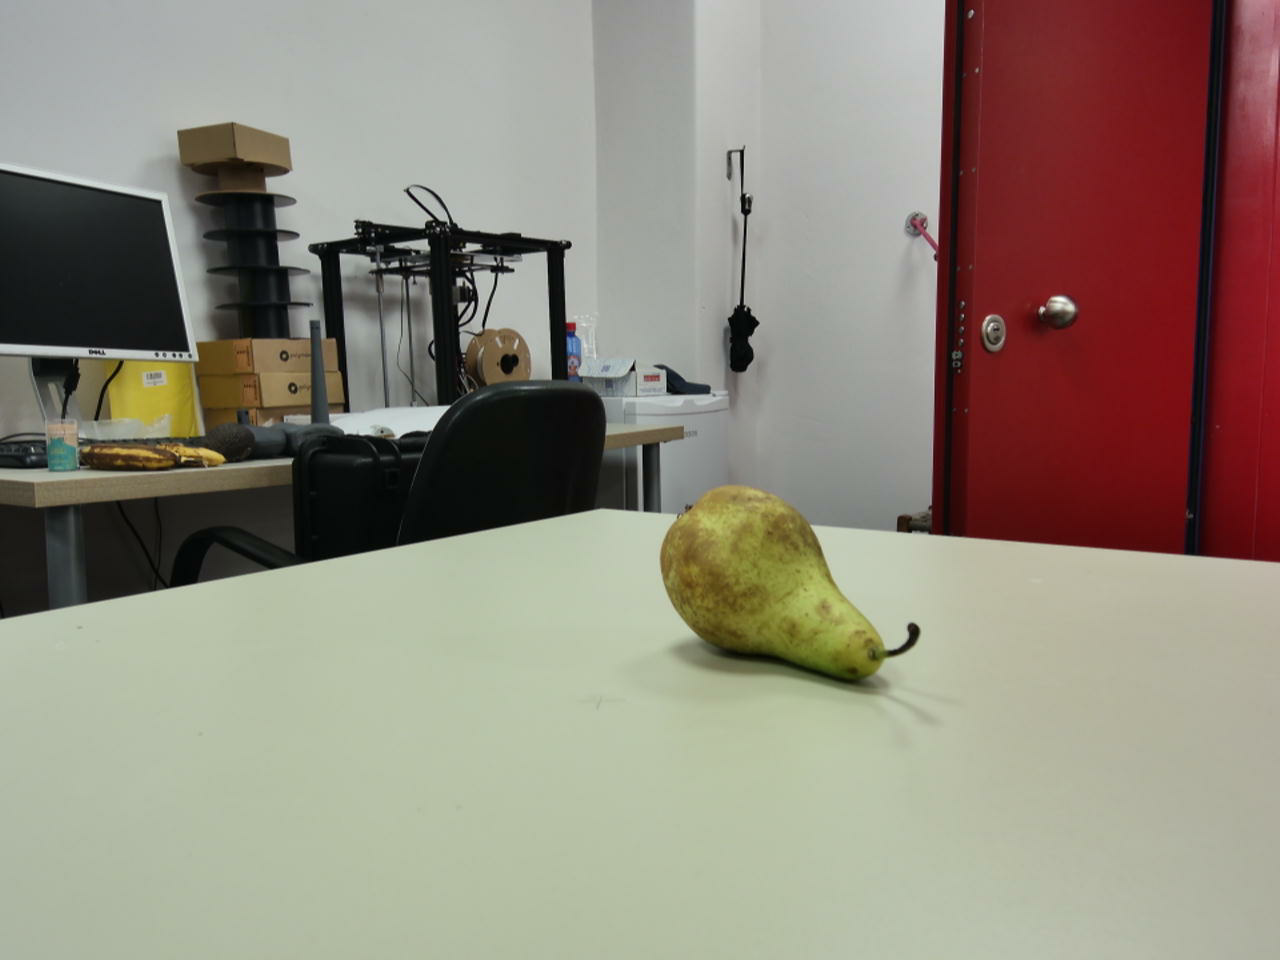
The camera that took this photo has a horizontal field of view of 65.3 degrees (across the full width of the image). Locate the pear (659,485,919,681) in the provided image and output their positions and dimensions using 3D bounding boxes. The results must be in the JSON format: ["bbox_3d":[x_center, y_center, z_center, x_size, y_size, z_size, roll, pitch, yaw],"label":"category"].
[{"bbox_3d":[0.071,0.042,0.432,0.144,0.075,0.071,4,5,44],"label":"pear"}]
